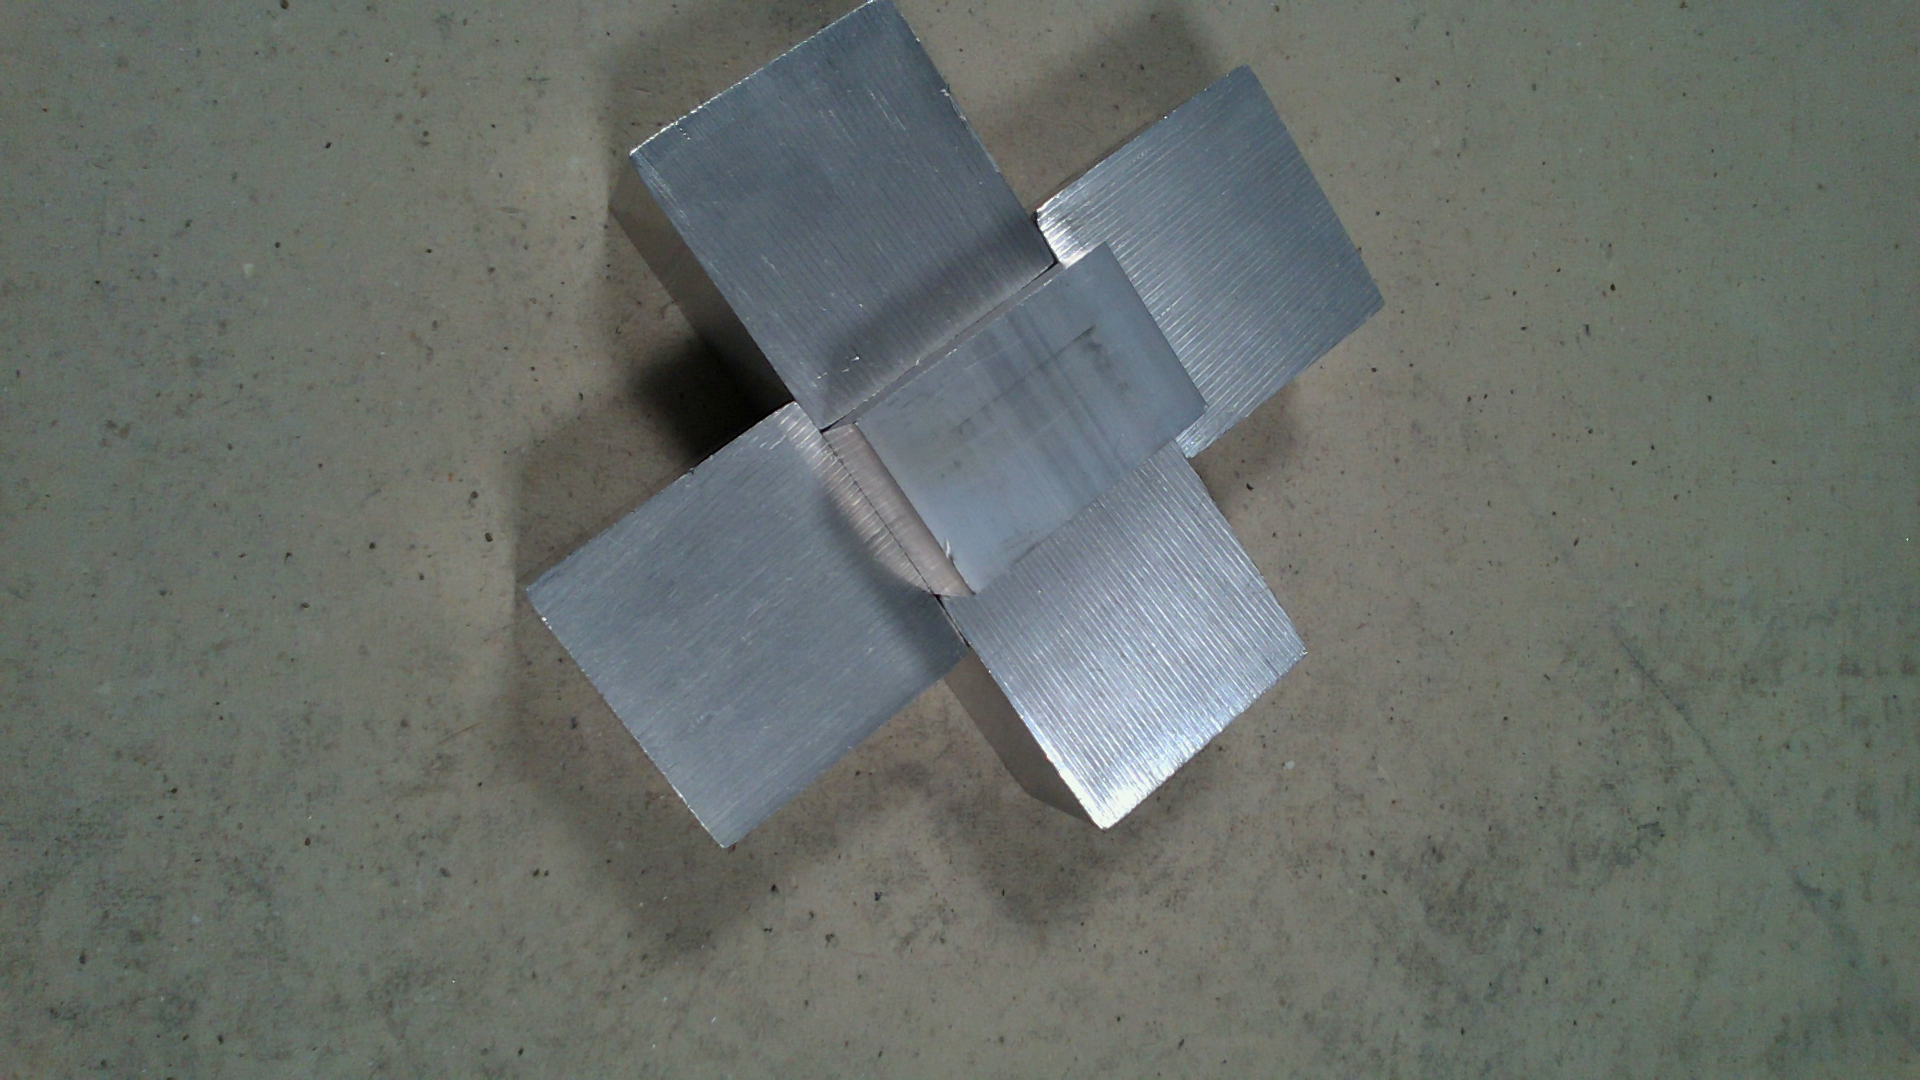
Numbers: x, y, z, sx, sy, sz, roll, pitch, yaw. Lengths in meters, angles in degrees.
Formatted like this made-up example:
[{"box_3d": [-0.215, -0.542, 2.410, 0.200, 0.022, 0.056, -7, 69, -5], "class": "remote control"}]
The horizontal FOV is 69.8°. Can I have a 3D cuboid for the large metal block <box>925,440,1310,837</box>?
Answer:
[{"box_3d": [0.038, 0.023, 0.393, 0.080, 0.050, 0.080, -38, 102, -16], "class": "large metal block"}]

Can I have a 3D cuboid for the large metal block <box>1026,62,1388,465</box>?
[{"box_3d": [0.063, -0.077, 0.402, 0.080, 0.050, 0.080, -38, 102, -16], "class": "large metal block"}]

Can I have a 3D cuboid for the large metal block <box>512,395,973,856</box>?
[{"box_3d": [-0.058, 0.020, 0.358, 0.080, 0.050, 0.080, -38, 102, -16], "class": "large metal block"}]

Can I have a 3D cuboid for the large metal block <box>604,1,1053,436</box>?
[{"box_3d": [-0.035, -0.082, 0.366, 0.080, 0.050, 0.080, -38, 102, -16], "class": "large metal block"}]

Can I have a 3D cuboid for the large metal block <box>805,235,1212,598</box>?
[{"box_3d": [0.005, -0.030, 0.366, 0.080, 0.080, 0.050, -38, 102, -16], "class": "large metal block"}]
